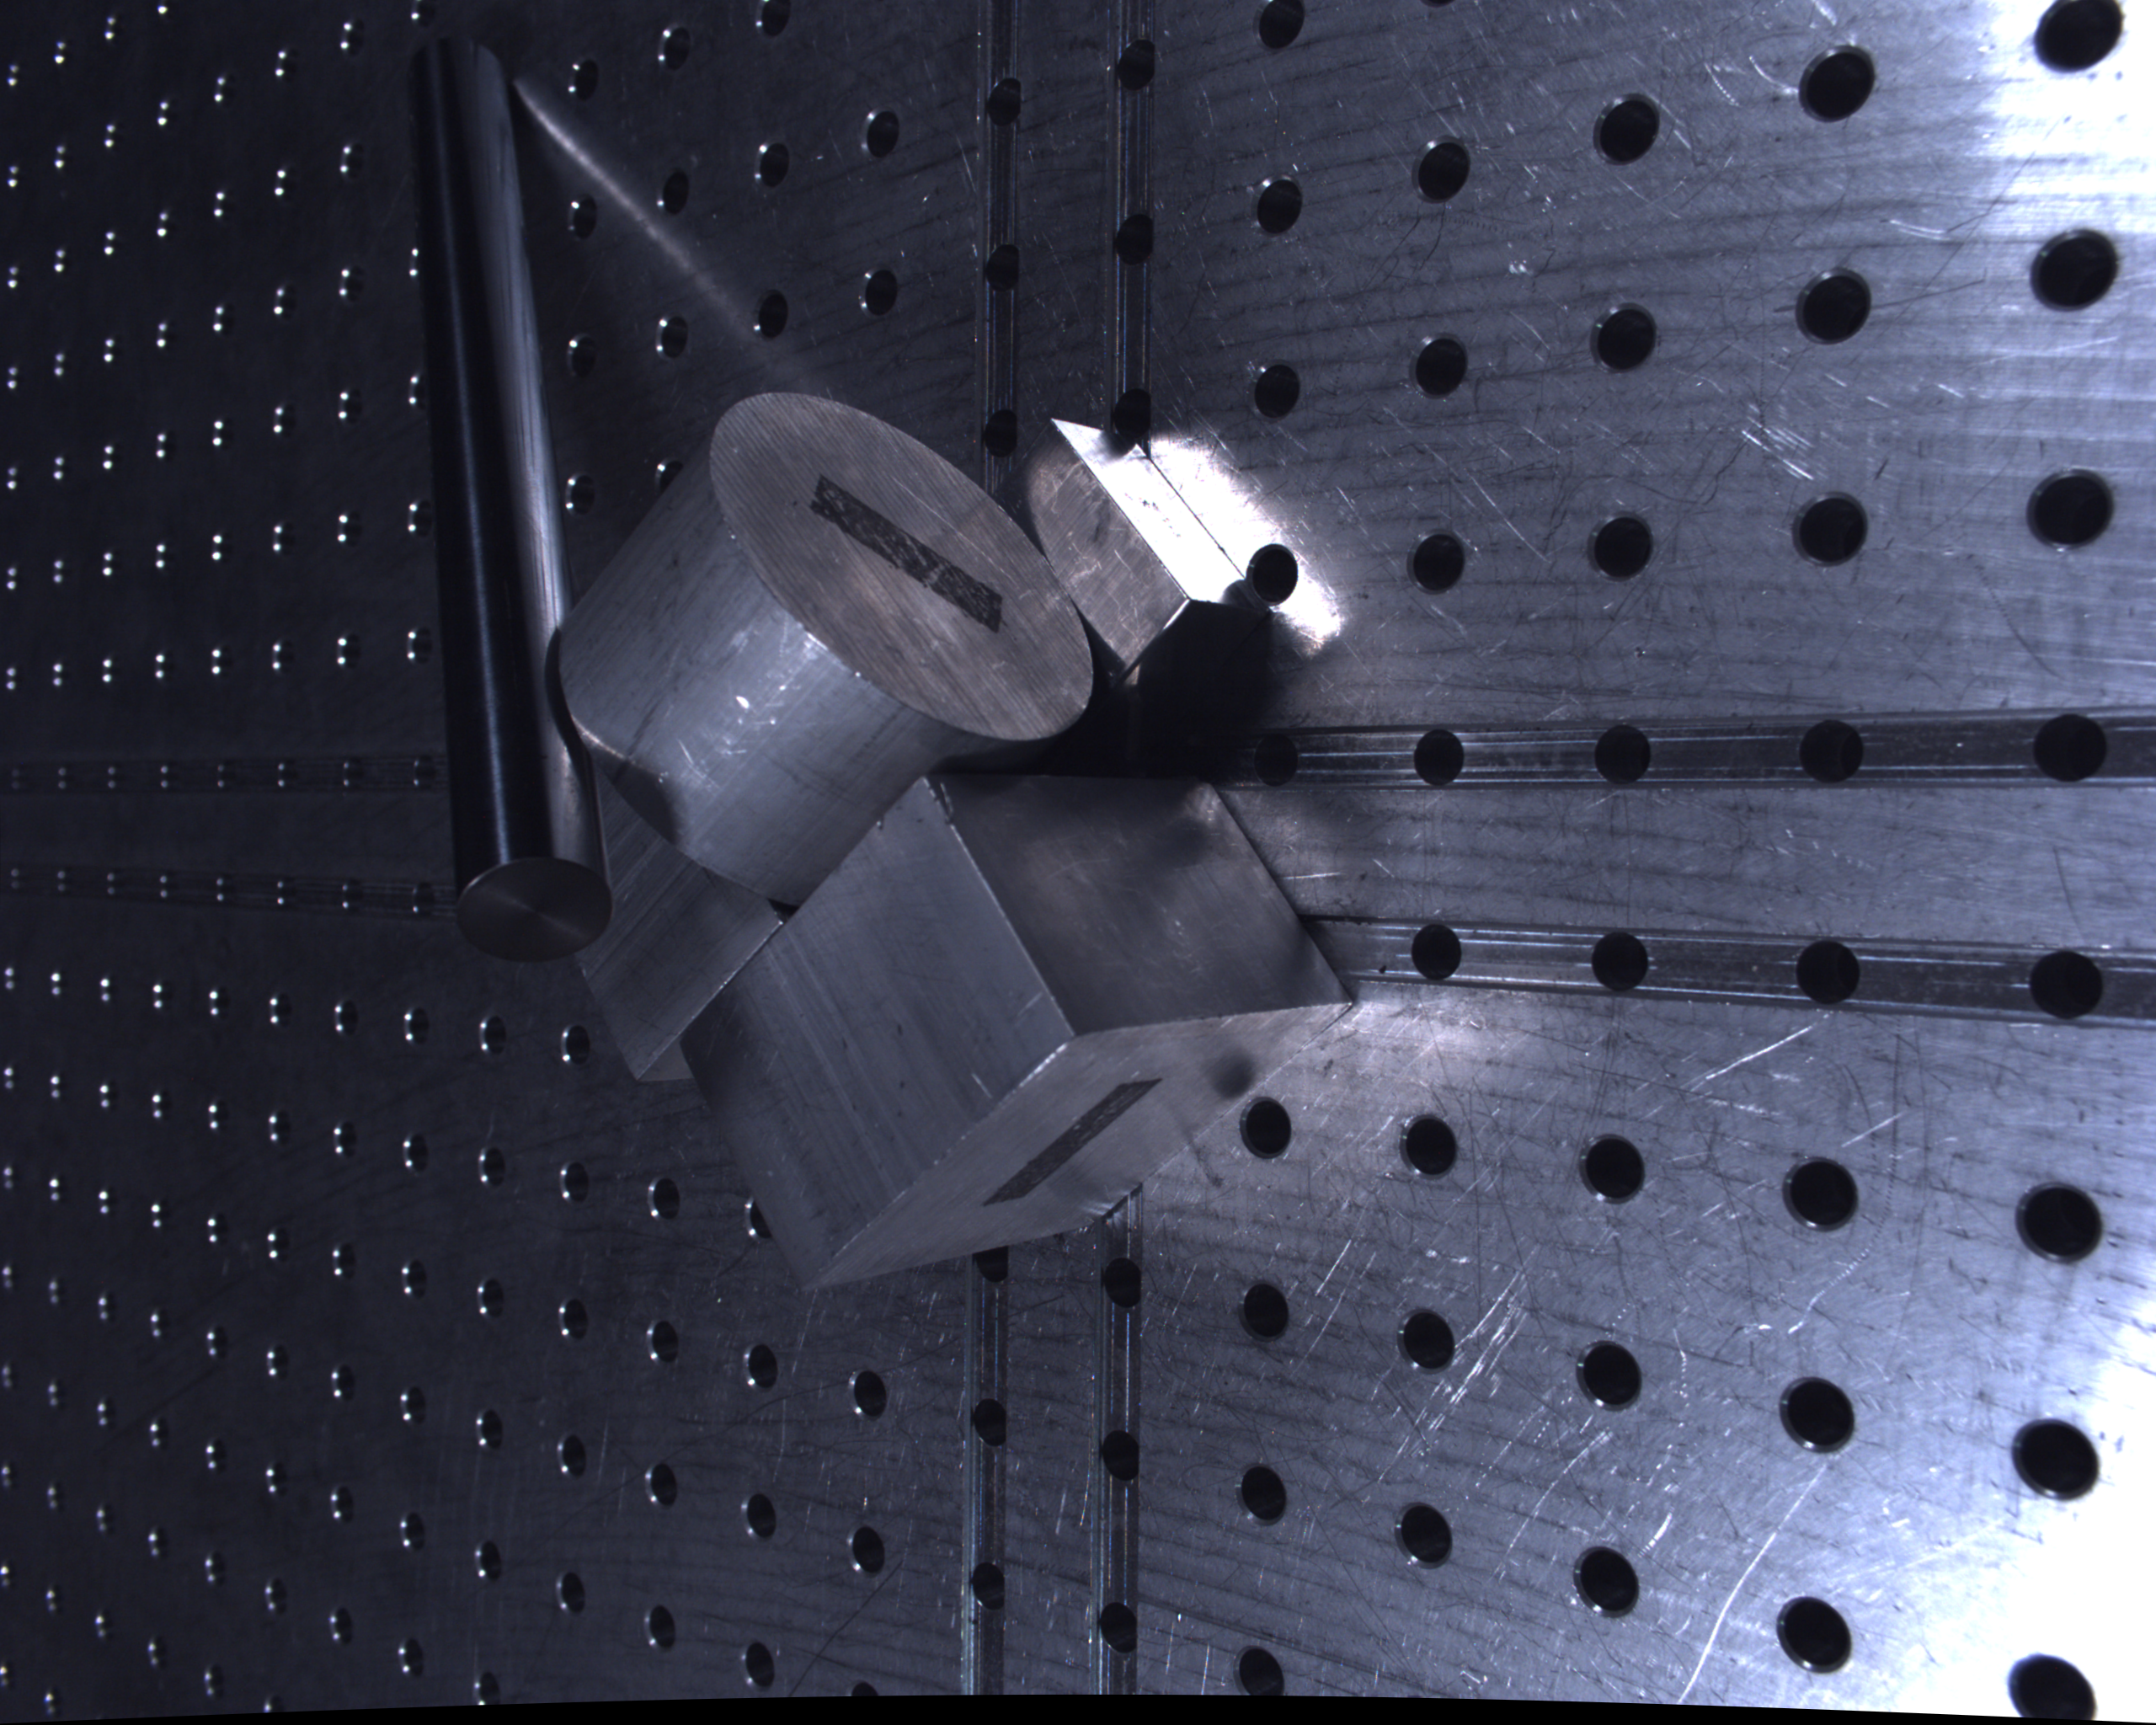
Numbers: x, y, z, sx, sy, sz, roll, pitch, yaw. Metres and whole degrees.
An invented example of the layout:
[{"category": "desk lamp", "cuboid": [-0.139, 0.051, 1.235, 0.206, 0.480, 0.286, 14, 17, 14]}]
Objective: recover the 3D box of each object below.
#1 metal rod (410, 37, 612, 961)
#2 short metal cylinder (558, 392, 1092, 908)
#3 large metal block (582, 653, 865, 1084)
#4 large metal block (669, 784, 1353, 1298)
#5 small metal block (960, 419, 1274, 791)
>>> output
[{"category": "metal rod", "cuboid": [-0.125, -0.097, 0.442, 0.025, 0.025, 0.300, -49, 40, 29]}, {"category": "short metal cylinder", "cuboid": [-0.045, -0.038, 0.375, 0.050, 0.081, 0.080, -44, 64, 31]}, {"category": "large metal block", "cuboid": [-0.059, -0.006, 0.421, 0.050, 0.081, 0.080, -45, 63, 30]}, {"category": "large metal block", "cuboid": [-0.012, 0.031, 0.379, 0.080, 0.081, 0.050, -45, 64, 30]}, {"category": "small metal block", "cuboid": [0.002, -0.049, 0.407, 0.050, 0.025, 0.050, -49, 62, 28]}]
